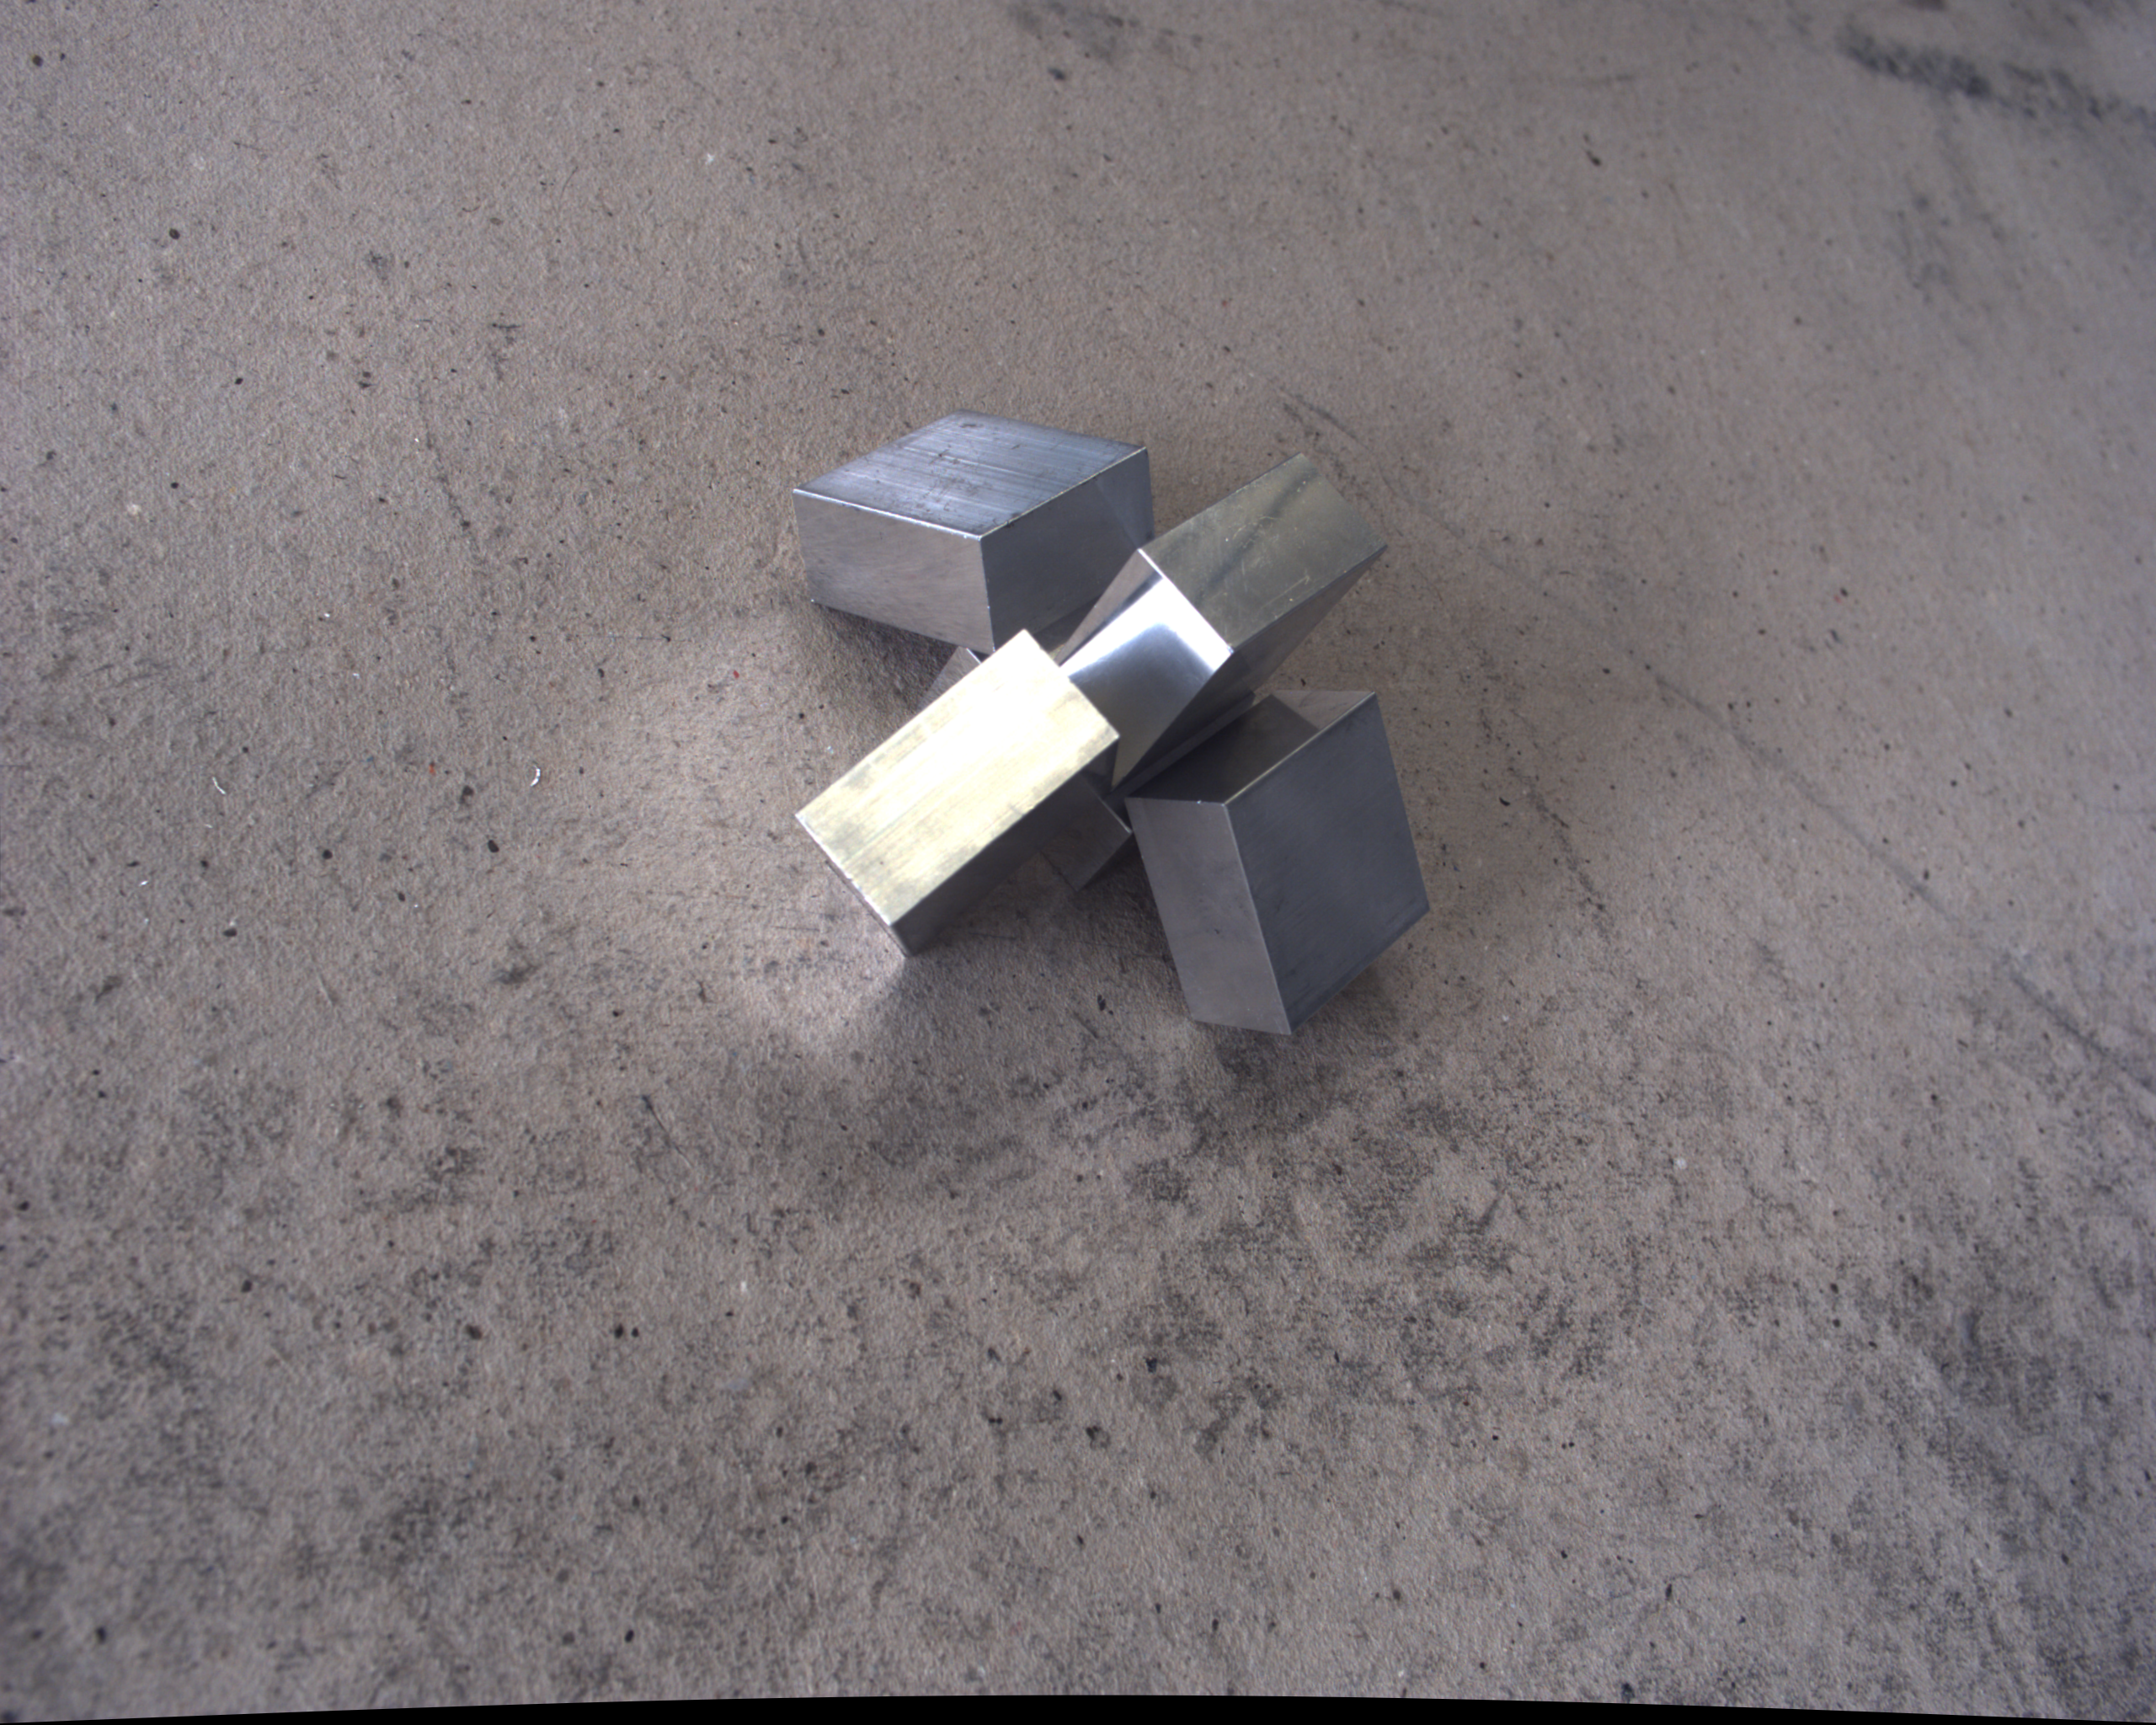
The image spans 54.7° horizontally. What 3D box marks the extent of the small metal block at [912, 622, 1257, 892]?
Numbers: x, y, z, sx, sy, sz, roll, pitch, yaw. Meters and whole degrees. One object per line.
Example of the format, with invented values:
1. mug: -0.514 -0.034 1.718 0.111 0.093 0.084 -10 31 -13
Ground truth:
1. small metal block: 0.004 -0.030 0.426 0.050 0.025 0.050 49 54 6

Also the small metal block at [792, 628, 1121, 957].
1. small metal block: -0.021 -0.011 0.373 0.050 0.050 0.025 -40 84 -6

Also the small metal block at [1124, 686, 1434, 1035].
1. small metal block: 0.041 -0.002 0.412 0.050 0.025 0.050 -37 119 -38

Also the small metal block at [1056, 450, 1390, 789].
1. small metal block: 0.024 -0.046 0.398 0.025 0.050 0.050 49 52 5

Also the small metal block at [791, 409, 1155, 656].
1. small metal block: -0.020 -0.067 0.419 0.050 0.025 0.050 20 41 36
